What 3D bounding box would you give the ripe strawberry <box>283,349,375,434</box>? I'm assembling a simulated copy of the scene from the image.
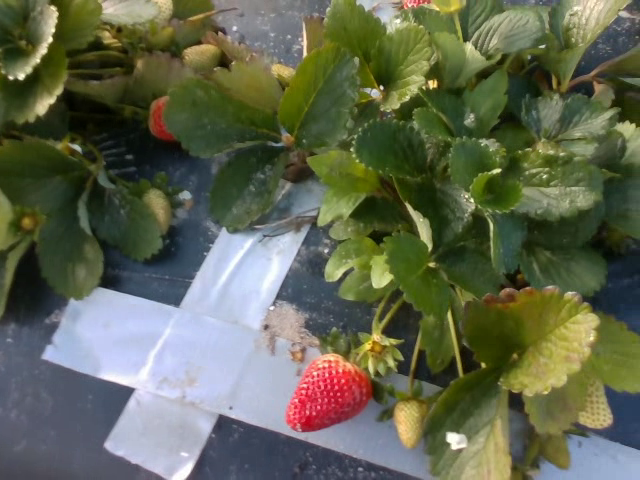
[{"bbox_3d":[0.001,0.041,0.151,0.023,0.021,0.026,25,50,34],"label":"ripe strawberry"}]
